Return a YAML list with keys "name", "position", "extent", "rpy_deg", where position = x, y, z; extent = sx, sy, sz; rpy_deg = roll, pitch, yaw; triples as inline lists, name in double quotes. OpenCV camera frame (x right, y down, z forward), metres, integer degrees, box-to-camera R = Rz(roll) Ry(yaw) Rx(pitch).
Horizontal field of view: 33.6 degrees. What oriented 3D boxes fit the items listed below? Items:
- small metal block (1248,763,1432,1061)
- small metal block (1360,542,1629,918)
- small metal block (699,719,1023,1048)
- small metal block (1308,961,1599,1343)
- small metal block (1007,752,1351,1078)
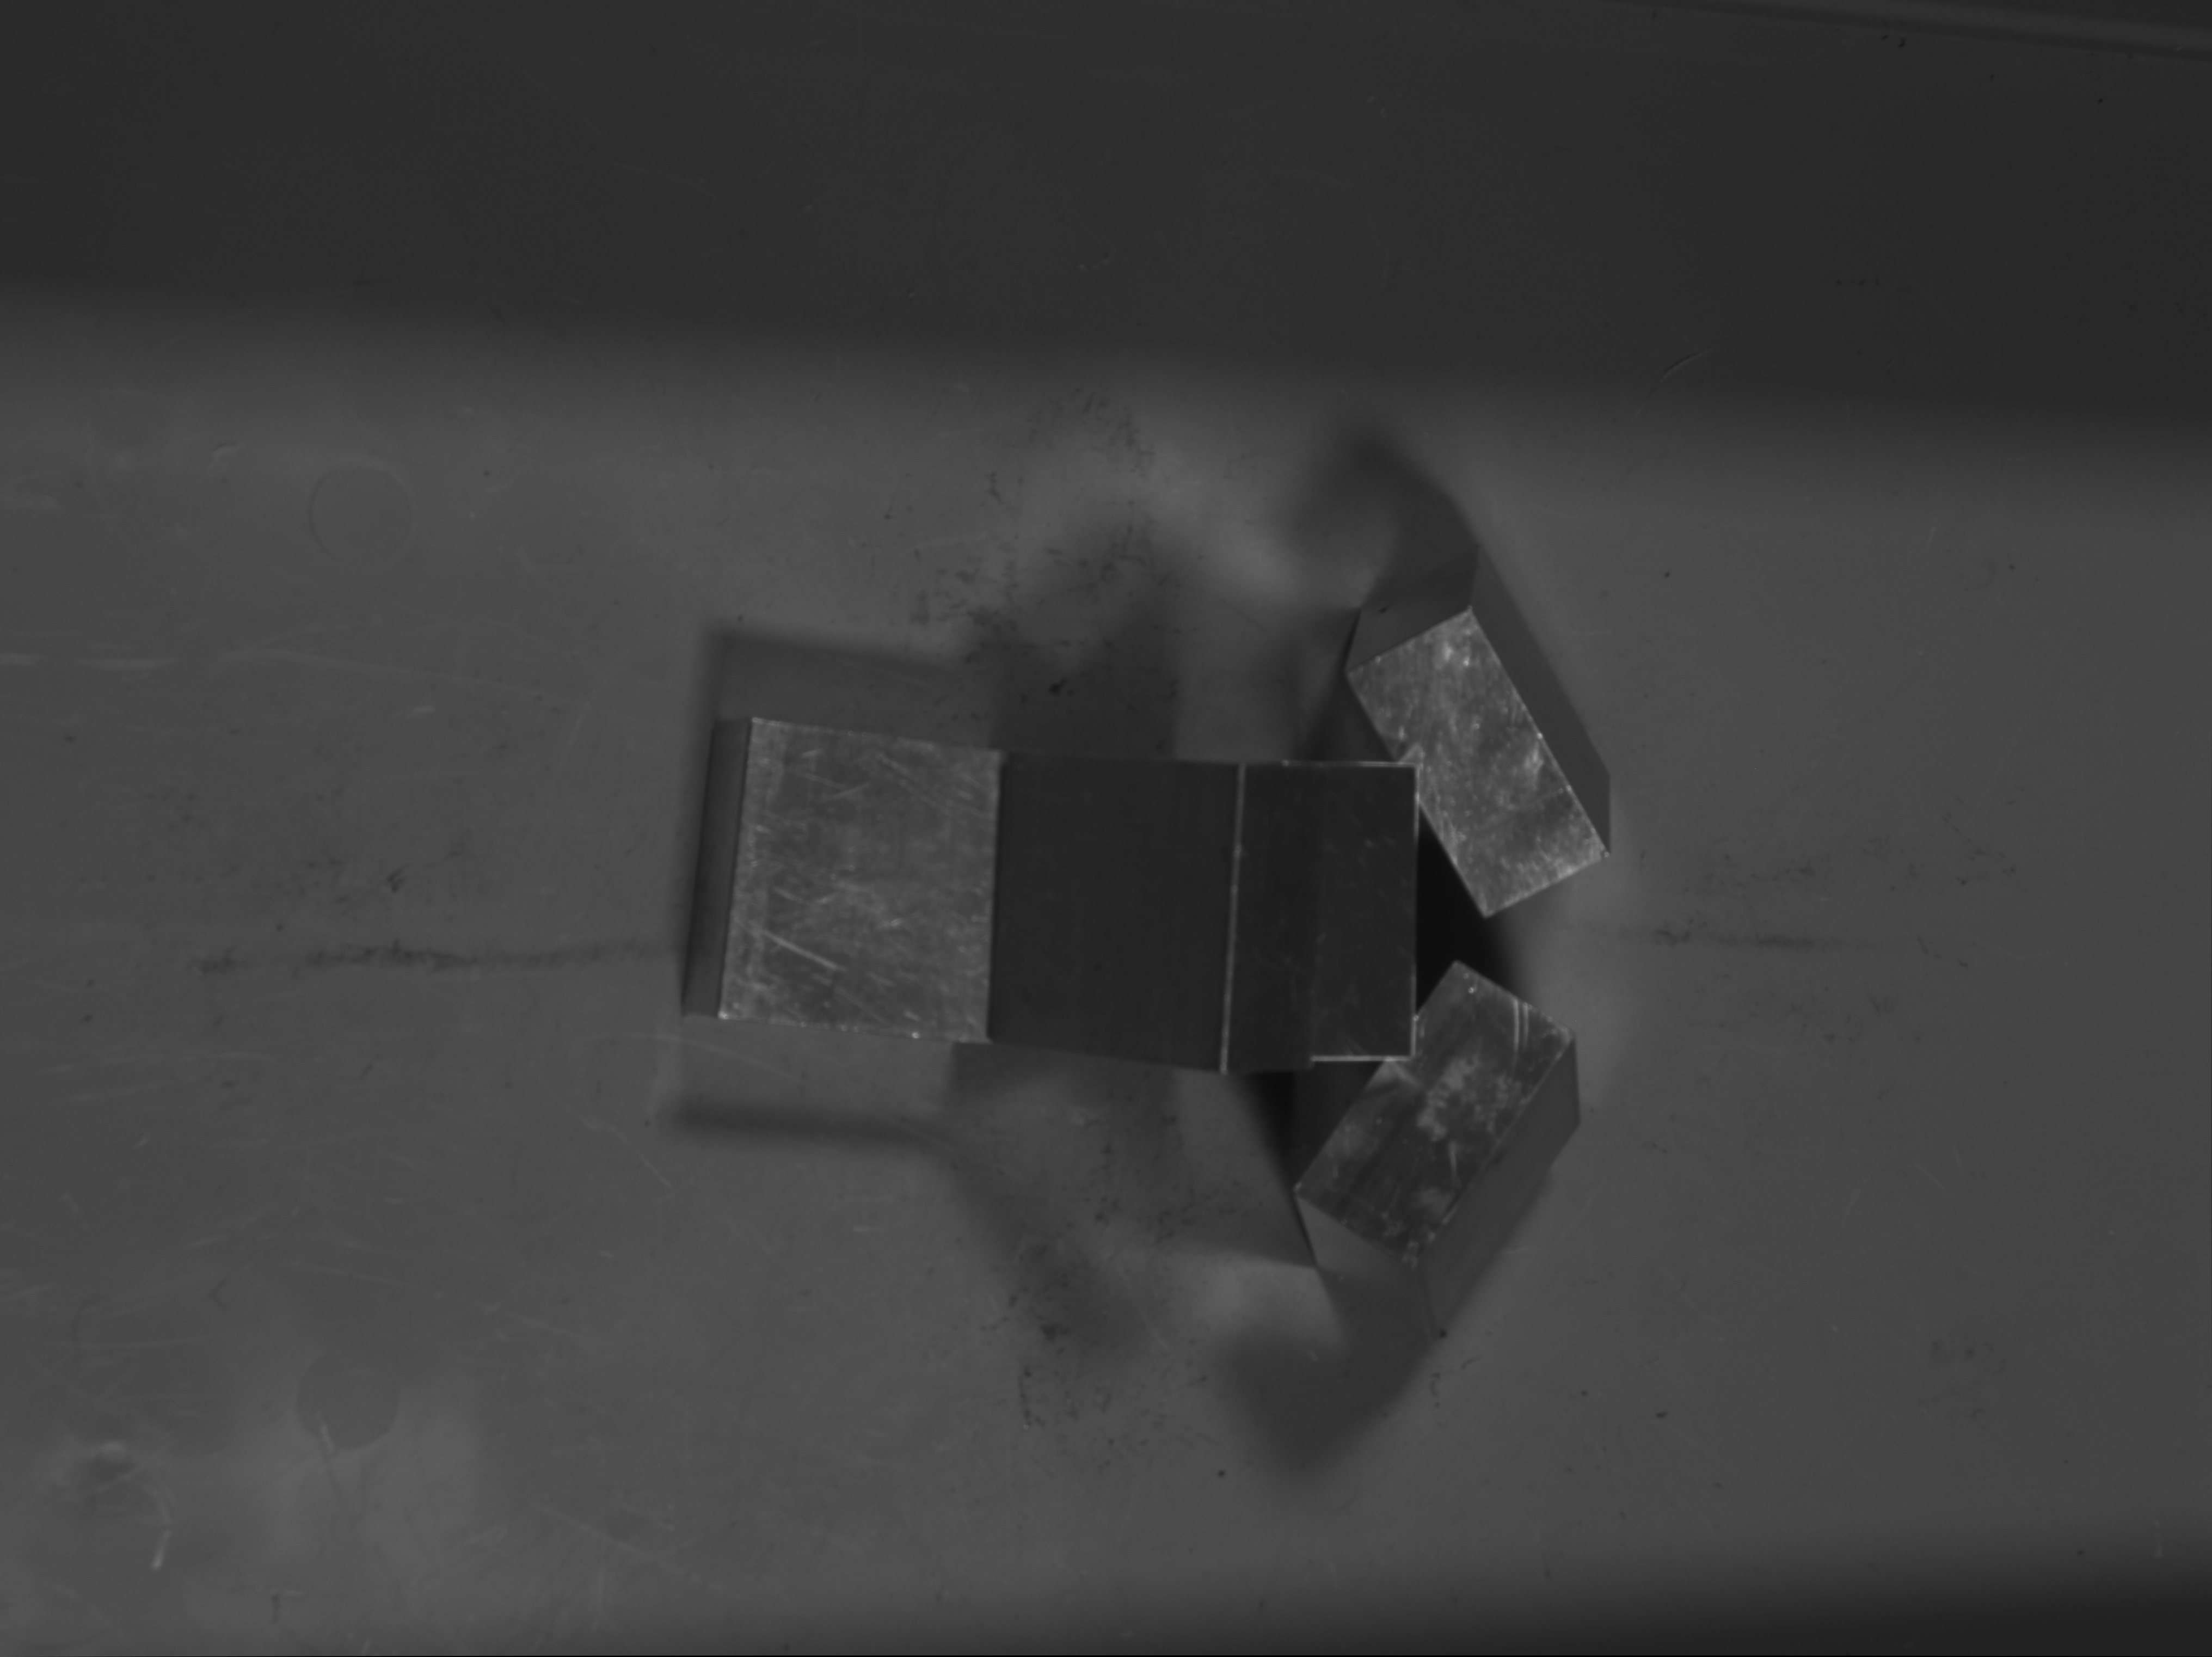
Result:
- name: "small metal block"
  position: [0.035, 0.014, 0.642]
  extent: [0.025, 0.050, 0.050]
  rpy_deg: [1, 90, -20]
- name: "small metal block"
  position: [0.070, -0.018, 0.651]
  extent: [0.025, 0.050, 0.050]
  rpy_deg: [-28, 101, 15]
- name: "small metal block"
  position: [-0.040, 0.010, 0.627]
  extent: [0.050, 0.025, 0.050]
  rpy_deg: [7, 88, -20]
- name: "small metal block"
  position: [0.063, 0.058, 0.649]
  extent: [0.025, 0.050, 0.050]
  rpy_deg: [32, 76, 19]
- name: "small metal block"
  position: [0.012, 0.014, 0.614]
  extent: [0.025, 0.050, 0.050]
  rpy_deg: [1, 93, -51]
